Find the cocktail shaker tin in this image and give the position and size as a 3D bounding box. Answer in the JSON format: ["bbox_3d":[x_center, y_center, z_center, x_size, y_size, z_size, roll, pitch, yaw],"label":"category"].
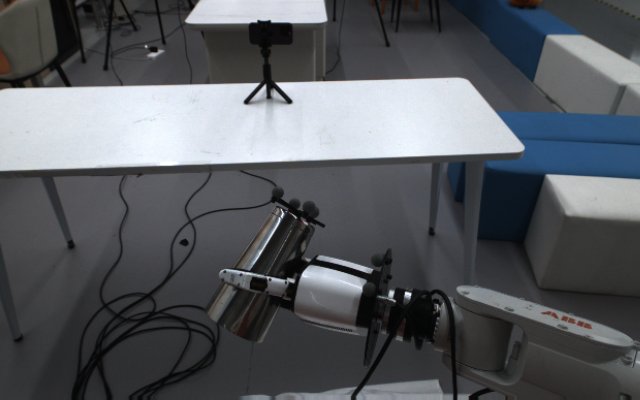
[{"bbox_3d":[-0.077,0.095,0.671,0.093,0.093,0.170,27,83,31],"label":"cocktail shaker tin"}]
